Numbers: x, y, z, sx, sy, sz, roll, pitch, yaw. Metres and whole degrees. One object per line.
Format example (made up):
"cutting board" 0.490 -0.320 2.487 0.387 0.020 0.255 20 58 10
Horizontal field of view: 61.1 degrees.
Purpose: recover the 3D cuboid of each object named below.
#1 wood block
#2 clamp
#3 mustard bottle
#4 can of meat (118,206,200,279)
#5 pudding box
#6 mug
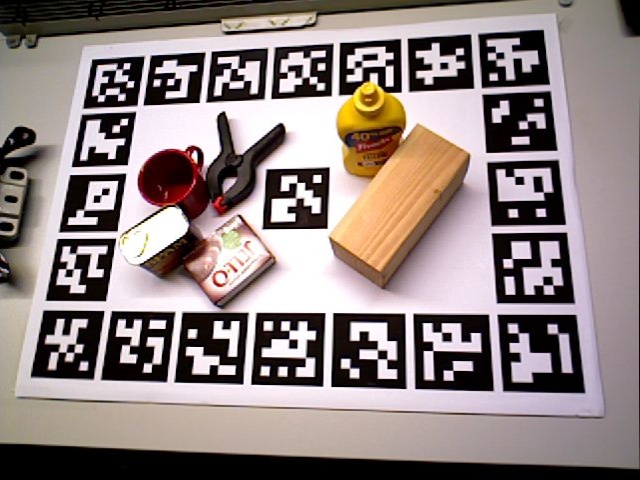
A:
"wood block" 0.116 -0.037 0.747 0.090 0.092 0.205 37 79 19
"clamp" -0.129 -0.123 0.840 0.122 0.037 0.164 19 79 12
"mustard bottle" 0.073 -0.153 0.730 0.096 0.193 0.058 -5 71 7
"can of meat" -0.231 0.007 0.782 0.101 0.084 0.057 -29 72 -2
"pudding box" -0.131 0.036 0.787 0.113 0.039 0.090 -38 72 -6
"mug" -0.212 -0.086 0.837 0.093 0.082 0.116 22 78 14
